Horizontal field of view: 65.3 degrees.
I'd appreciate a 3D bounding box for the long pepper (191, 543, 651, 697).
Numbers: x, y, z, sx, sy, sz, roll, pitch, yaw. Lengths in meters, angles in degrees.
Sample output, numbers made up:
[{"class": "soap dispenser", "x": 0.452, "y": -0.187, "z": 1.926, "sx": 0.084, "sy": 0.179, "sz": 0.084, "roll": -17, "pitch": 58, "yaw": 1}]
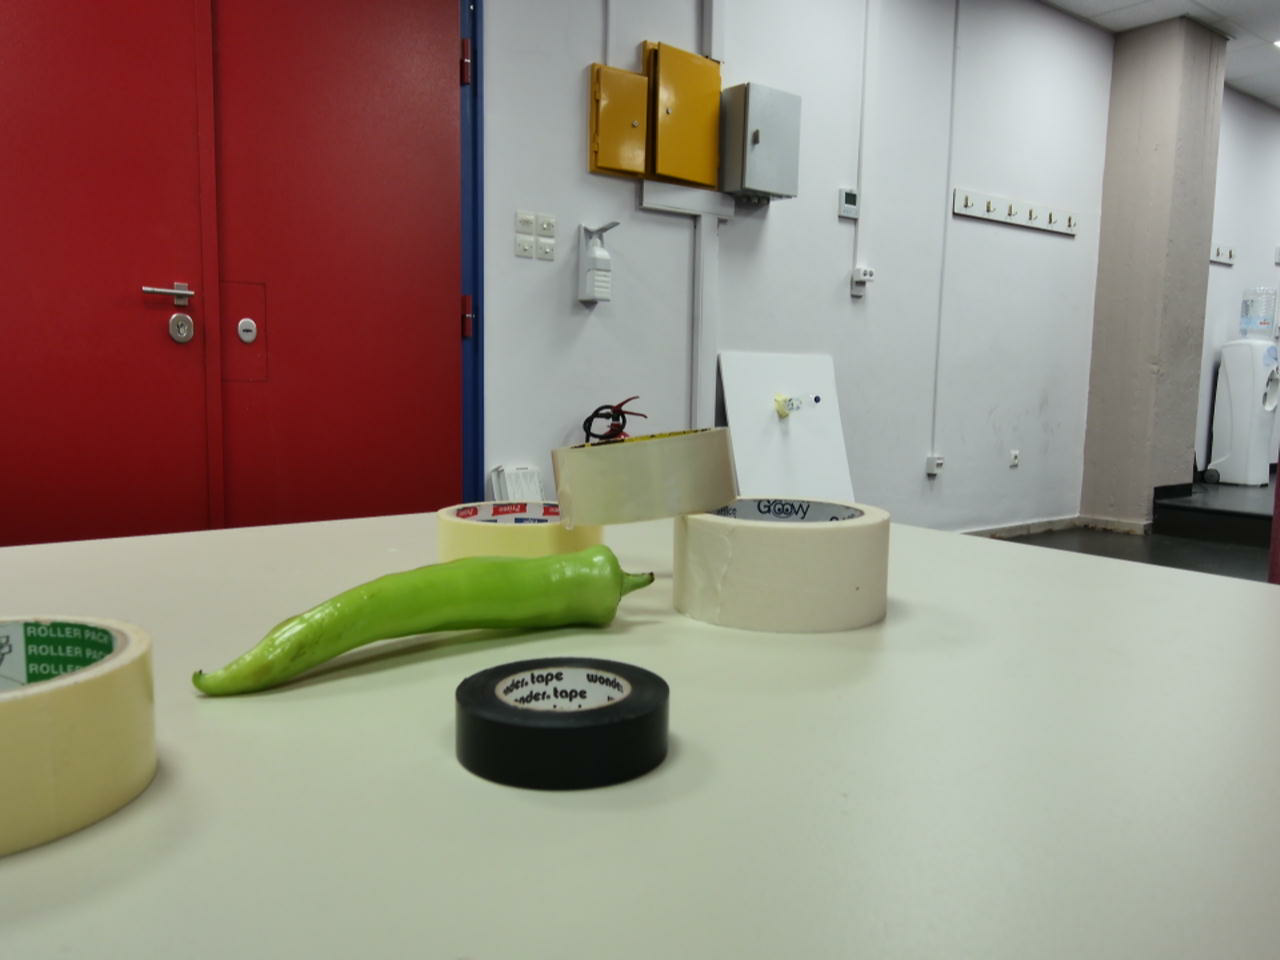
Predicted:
[{"class": "long pepper", "x": -0.083, "y": 0.052, "z": 0.413, "sx": 0.197, "sy": 0.038, "sz": 0.047, "roll": -3, "pitch": 5, "yaw": -36}]
